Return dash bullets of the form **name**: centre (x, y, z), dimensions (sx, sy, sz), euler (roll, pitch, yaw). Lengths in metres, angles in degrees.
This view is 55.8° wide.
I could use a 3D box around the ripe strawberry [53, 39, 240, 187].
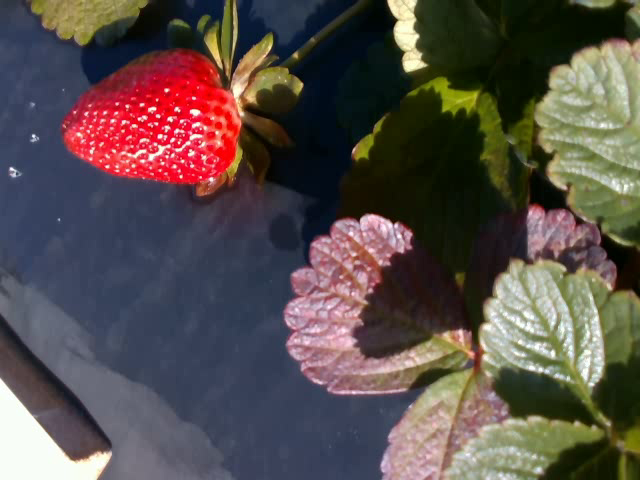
- **ripe strawberry**: centre (-0.049, -0.031, 0.169), dimensions (0.050, 0.043, 0.043), euler (-15, -6, -26)
